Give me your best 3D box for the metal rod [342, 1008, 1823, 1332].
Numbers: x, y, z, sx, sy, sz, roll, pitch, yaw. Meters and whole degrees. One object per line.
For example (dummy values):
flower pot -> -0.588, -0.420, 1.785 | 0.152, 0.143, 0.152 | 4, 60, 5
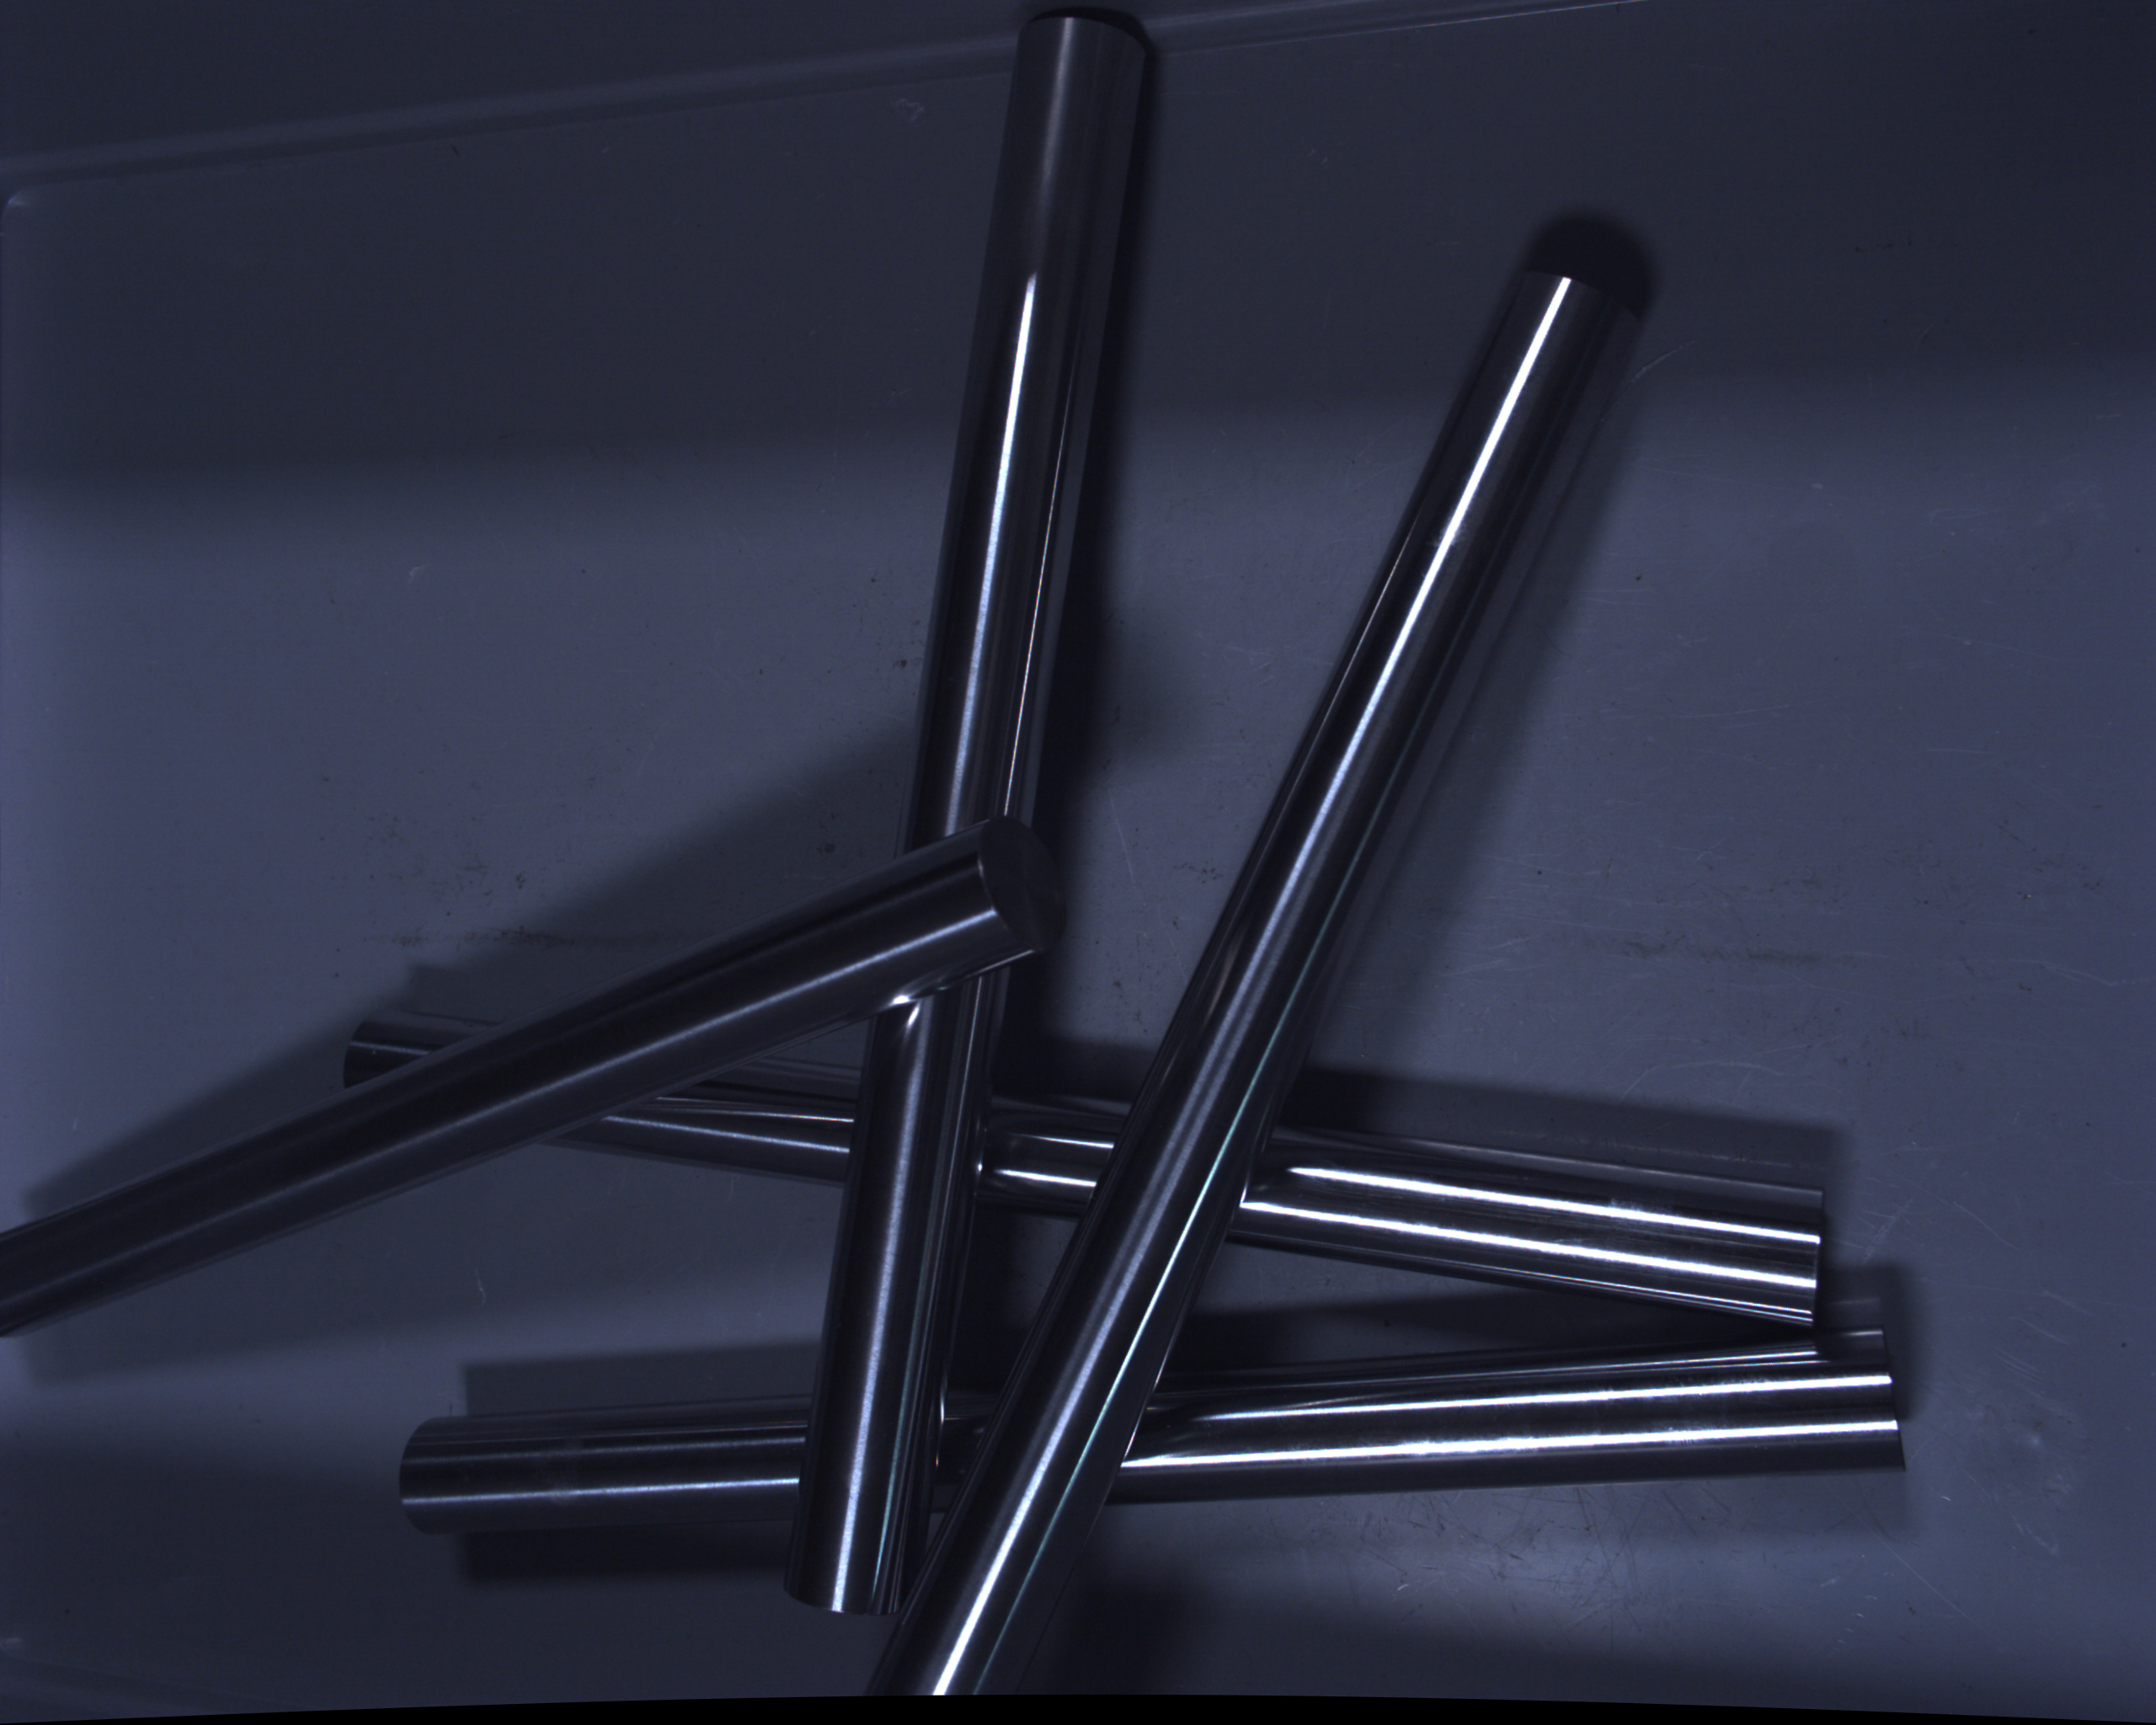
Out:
metal rod -> -0.013, 0.057, 0.412 | 0.301, 0.025, 0.025 | 5, 92, 19

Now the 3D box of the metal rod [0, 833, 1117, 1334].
metal rod -> -0.129, 0.053, 0.426 | 0.300, 0.025, 0.025 | -20, 84, 24

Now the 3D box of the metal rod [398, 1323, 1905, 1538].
metal rod -> 0.000, 0.113, 0.408 | 0.301, 0.025, 0.025 | -9, 87, 19

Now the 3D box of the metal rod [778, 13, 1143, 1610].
metal rod -> -0.021, -0.013, 0.397 | 0.025, 0.025, 0.298 | 7, 86, 19

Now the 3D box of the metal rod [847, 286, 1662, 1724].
metal rod -> 0.029, 0.037, 0.377 | 0.025, 0.025, 0.299 | 26, 90, 18
